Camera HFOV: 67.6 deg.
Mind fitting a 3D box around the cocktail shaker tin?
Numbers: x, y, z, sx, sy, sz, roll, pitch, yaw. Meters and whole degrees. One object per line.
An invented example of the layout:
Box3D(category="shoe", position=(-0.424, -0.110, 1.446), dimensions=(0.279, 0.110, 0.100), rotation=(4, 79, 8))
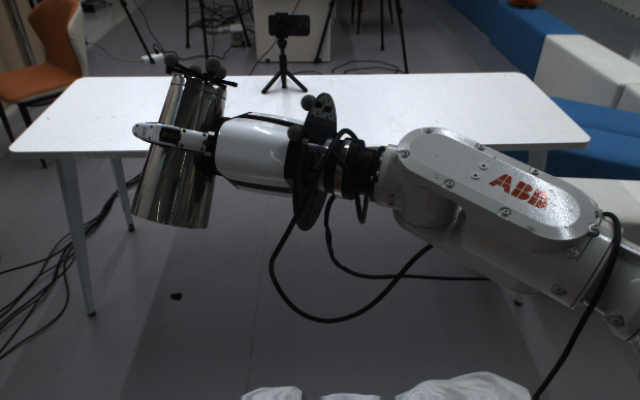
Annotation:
Box3D(category="cocktail shaker tin", position=(-0.165, -0.058, 0.588), dimensions=(0.093, 0.170, 0.093), rotation=(13, 2, 0))
